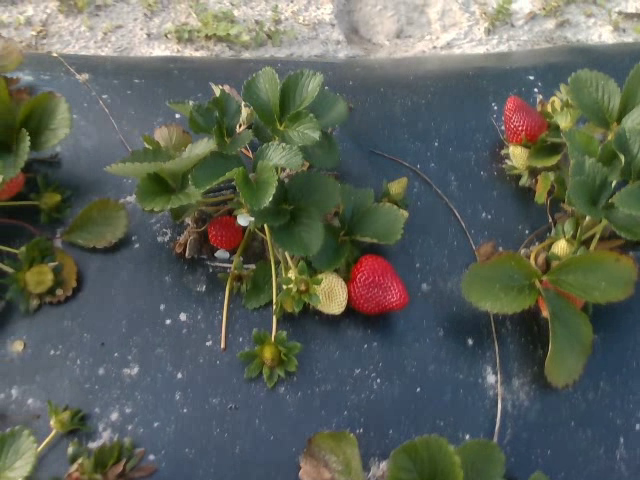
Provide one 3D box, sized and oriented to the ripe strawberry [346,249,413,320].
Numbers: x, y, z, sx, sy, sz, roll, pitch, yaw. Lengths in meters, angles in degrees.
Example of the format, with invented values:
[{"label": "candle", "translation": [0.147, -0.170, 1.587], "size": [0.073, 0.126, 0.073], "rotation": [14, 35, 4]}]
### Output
[{"label": "ripe strawberry", "translation": [0.051, 0.042, 0.504], "size": [0.048, 0.051, 0.055], "rotation": [13, 15, -43]}]
